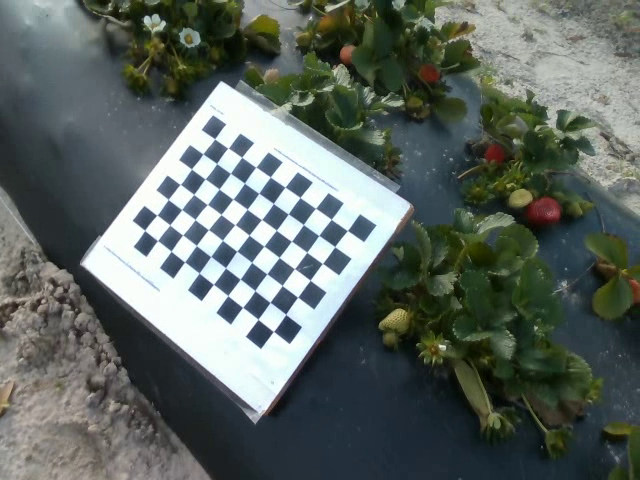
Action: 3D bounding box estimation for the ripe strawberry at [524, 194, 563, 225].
[{"bbox_3d":[0.333,-0.038,0.898,0.051,0.048,0.055,-23,16,7],"label":"ripe strawberry"}]
